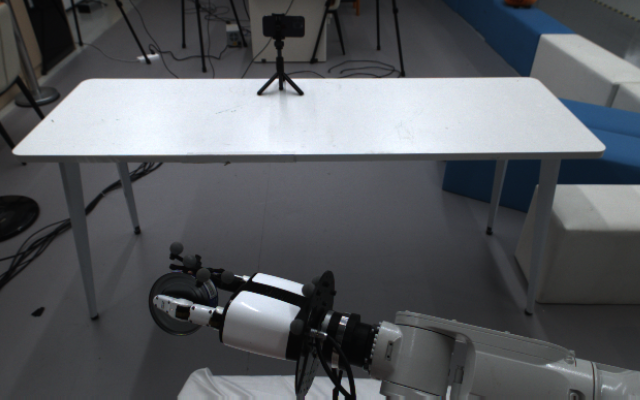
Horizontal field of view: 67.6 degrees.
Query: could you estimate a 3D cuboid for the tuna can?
[{"bbox_3d":[-0.178,0.135,0.643,0.085,0.085,0.034,10,4,11],"label":"tuna can"}]
